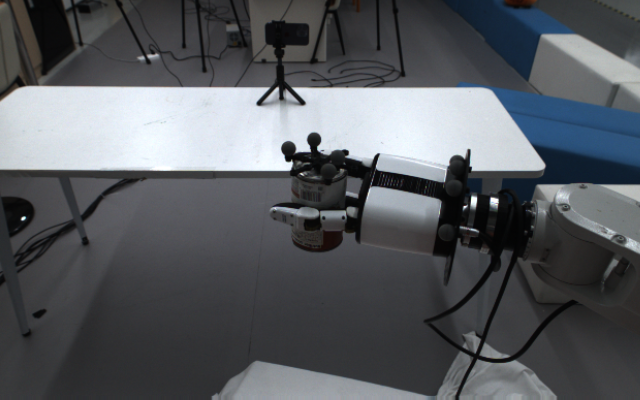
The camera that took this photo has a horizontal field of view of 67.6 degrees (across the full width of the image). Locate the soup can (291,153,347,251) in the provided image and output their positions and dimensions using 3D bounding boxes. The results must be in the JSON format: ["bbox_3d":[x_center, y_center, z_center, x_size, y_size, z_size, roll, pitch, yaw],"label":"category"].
[{"bbox_3d":[0.000,0.005,0.592,0.067,0.101,0.067,2,32,-1],"label":"soup can"}]
